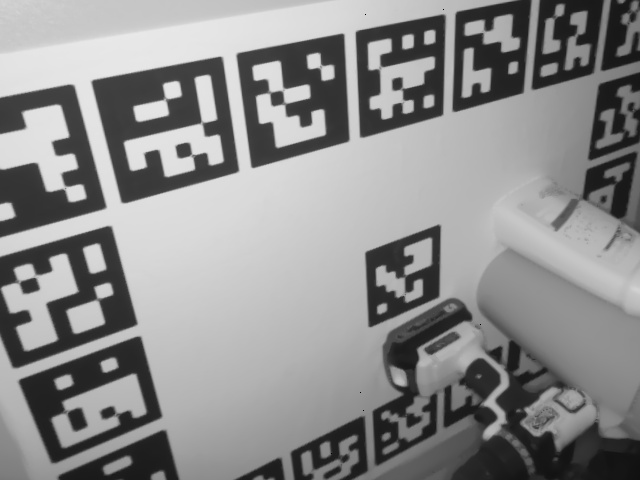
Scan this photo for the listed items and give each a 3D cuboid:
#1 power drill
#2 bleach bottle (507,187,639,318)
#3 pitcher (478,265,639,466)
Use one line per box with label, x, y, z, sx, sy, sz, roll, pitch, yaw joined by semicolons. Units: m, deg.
power drill;0.140;0.167;0.696;0.186;0.186;0.057;-18;117;-15
bleach bottle;0.305;0.025;0.692;0.104;0.249;0.067;-23;122;-19
pitcher;0.293;0.111;0.748;0.190;0.241;0.133;-40;124;-9
